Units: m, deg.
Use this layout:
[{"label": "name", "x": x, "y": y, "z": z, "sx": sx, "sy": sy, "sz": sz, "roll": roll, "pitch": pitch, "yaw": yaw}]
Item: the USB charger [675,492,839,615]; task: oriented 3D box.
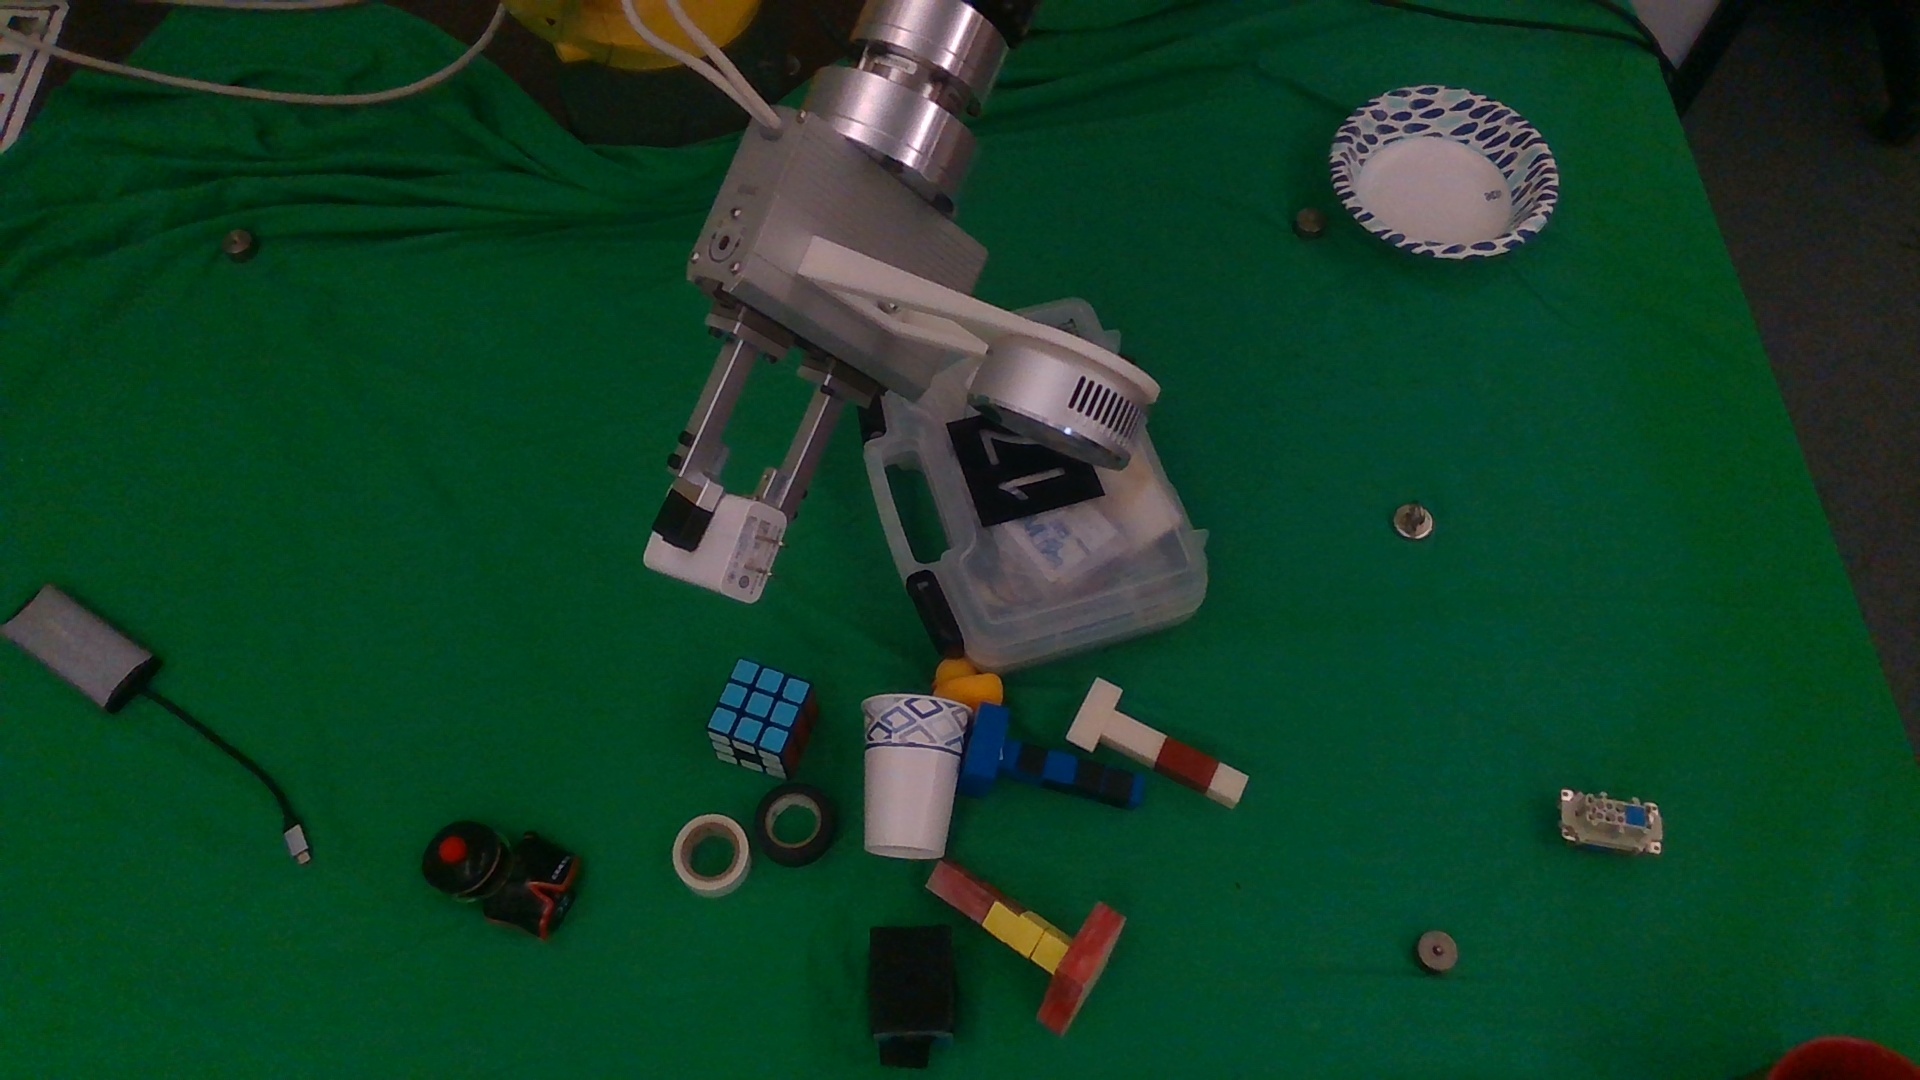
[{"label": "USB charger", "x": -0.080, "y": 0.005, "z": 0.557, "sx": 0.076, "sy": 0.029, "sz": 0.044, "roll": 11, "pitch": 89, "yaw": 36}]

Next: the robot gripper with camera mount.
[{"label": "robot gripper with camera mount", "x": -0.015, "y": -0.038, "z": 0.516, "sx": 0.194, "sy": 0.118, "sz": 0.158, "roll": 24, "pitch": 91, "yaw": 44}]
